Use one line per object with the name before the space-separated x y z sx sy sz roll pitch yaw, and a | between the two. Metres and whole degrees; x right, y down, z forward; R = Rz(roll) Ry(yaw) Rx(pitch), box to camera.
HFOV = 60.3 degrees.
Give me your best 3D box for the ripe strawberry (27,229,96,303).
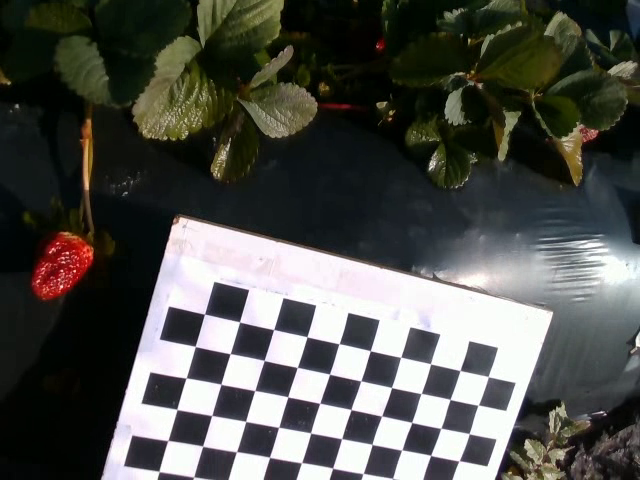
ripe strawberry | -0.060 0.005 0.130 0.015 0.023 0.015 23 -47 -12
